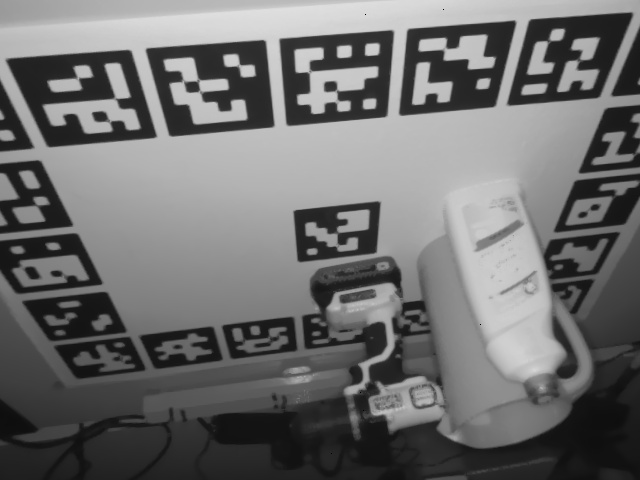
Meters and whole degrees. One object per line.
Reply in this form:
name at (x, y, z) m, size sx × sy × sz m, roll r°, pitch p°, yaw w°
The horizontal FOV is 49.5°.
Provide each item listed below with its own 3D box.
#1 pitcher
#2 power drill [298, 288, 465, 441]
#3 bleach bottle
pitcher at (0.234, 0.126, 0.816) m, size 0.187 × 0.244 × 0.133 m, roll -23°, pitch 134°, yaw 13°
power drill at (0.066, 0.146, 0.816) m, size 0.185 × 0.188 × 0.057 m, roll -4°, pitch 135°, yaw 2°
bleach bottle at (0.248, 0.071, 0.730) m, size 0.103 × 0.252 × 0.067 m, roll -10°, pitch 137°, yaw -1°
